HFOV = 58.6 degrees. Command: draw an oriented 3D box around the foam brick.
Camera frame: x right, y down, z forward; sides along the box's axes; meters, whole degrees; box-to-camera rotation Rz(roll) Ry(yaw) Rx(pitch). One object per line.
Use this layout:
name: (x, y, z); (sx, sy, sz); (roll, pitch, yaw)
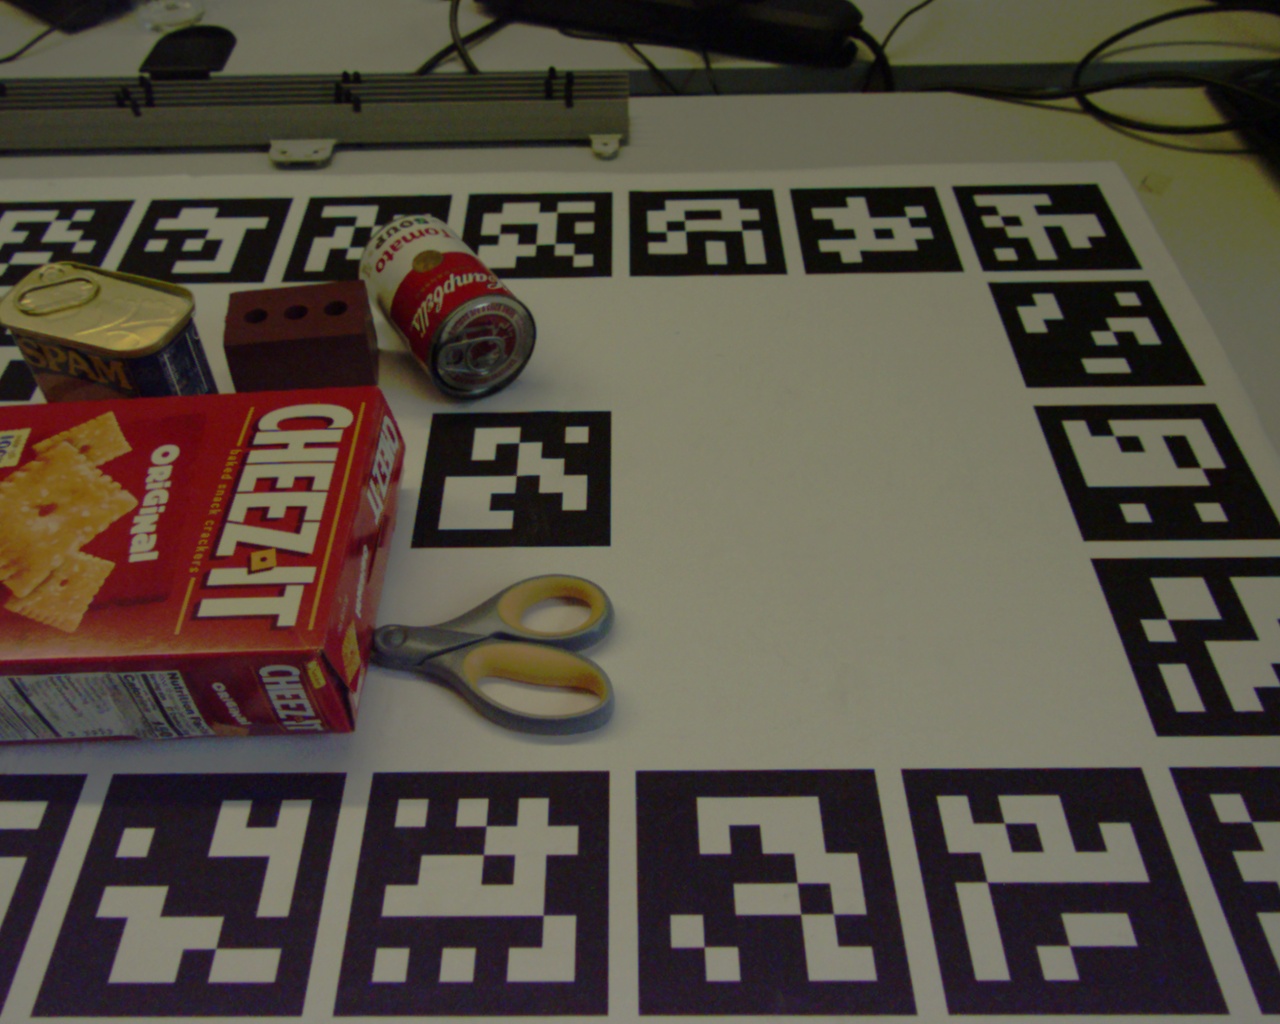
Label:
foam brick: (-0.199, -0.093, 0.686); (0.078, 0.051, 0.053); (-8, 50, -6)

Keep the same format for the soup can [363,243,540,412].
soup can: (-0.118, -0.115, 0.702); (0.067, 0.067, 0.103); (-31, 50, -23)

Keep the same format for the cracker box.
cracker box: (-0.240, 0.022, 0.554); (0.213, 0.071, 0.165); (-7, 49, 0)

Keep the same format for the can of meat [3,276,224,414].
can of meat: (-0.294, -0.080, 0.652); (0.102, 0.083, 0.058); (11, 51, 9)

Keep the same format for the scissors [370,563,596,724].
scissors: (-0.124, 0.068, 0.553); (0.202, 0.016, 0.088); (-4, 50, -2)
